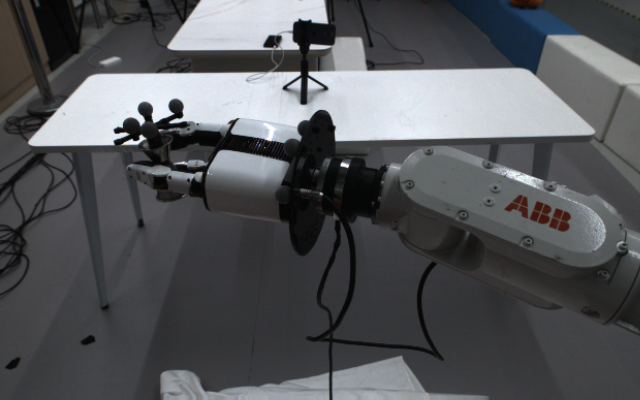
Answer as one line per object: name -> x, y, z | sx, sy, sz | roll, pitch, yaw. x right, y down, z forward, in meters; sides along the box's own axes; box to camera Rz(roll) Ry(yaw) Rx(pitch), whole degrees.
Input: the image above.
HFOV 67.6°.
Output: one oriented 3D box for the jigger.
jigger -> -0.179, -0.039, 0.571 | 0.043, 0.071, 0.043 | -8, 31, 5
